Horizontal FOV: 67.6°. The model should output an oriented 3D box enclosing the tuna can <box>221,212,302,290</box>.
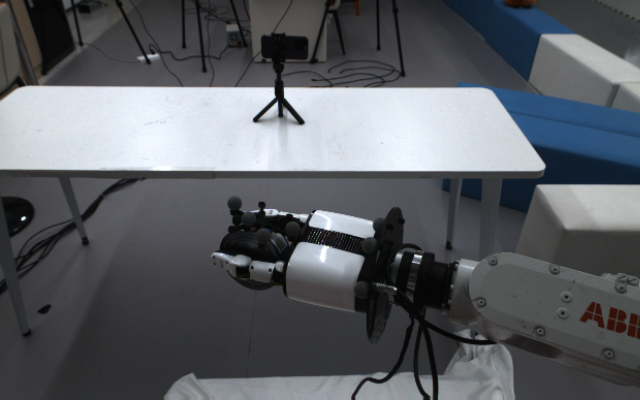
[{"bbox_3d":[-0.078,0.068,0.604,0.085,0.085,0.034,16,28,19],"label":"tuna can"}]
